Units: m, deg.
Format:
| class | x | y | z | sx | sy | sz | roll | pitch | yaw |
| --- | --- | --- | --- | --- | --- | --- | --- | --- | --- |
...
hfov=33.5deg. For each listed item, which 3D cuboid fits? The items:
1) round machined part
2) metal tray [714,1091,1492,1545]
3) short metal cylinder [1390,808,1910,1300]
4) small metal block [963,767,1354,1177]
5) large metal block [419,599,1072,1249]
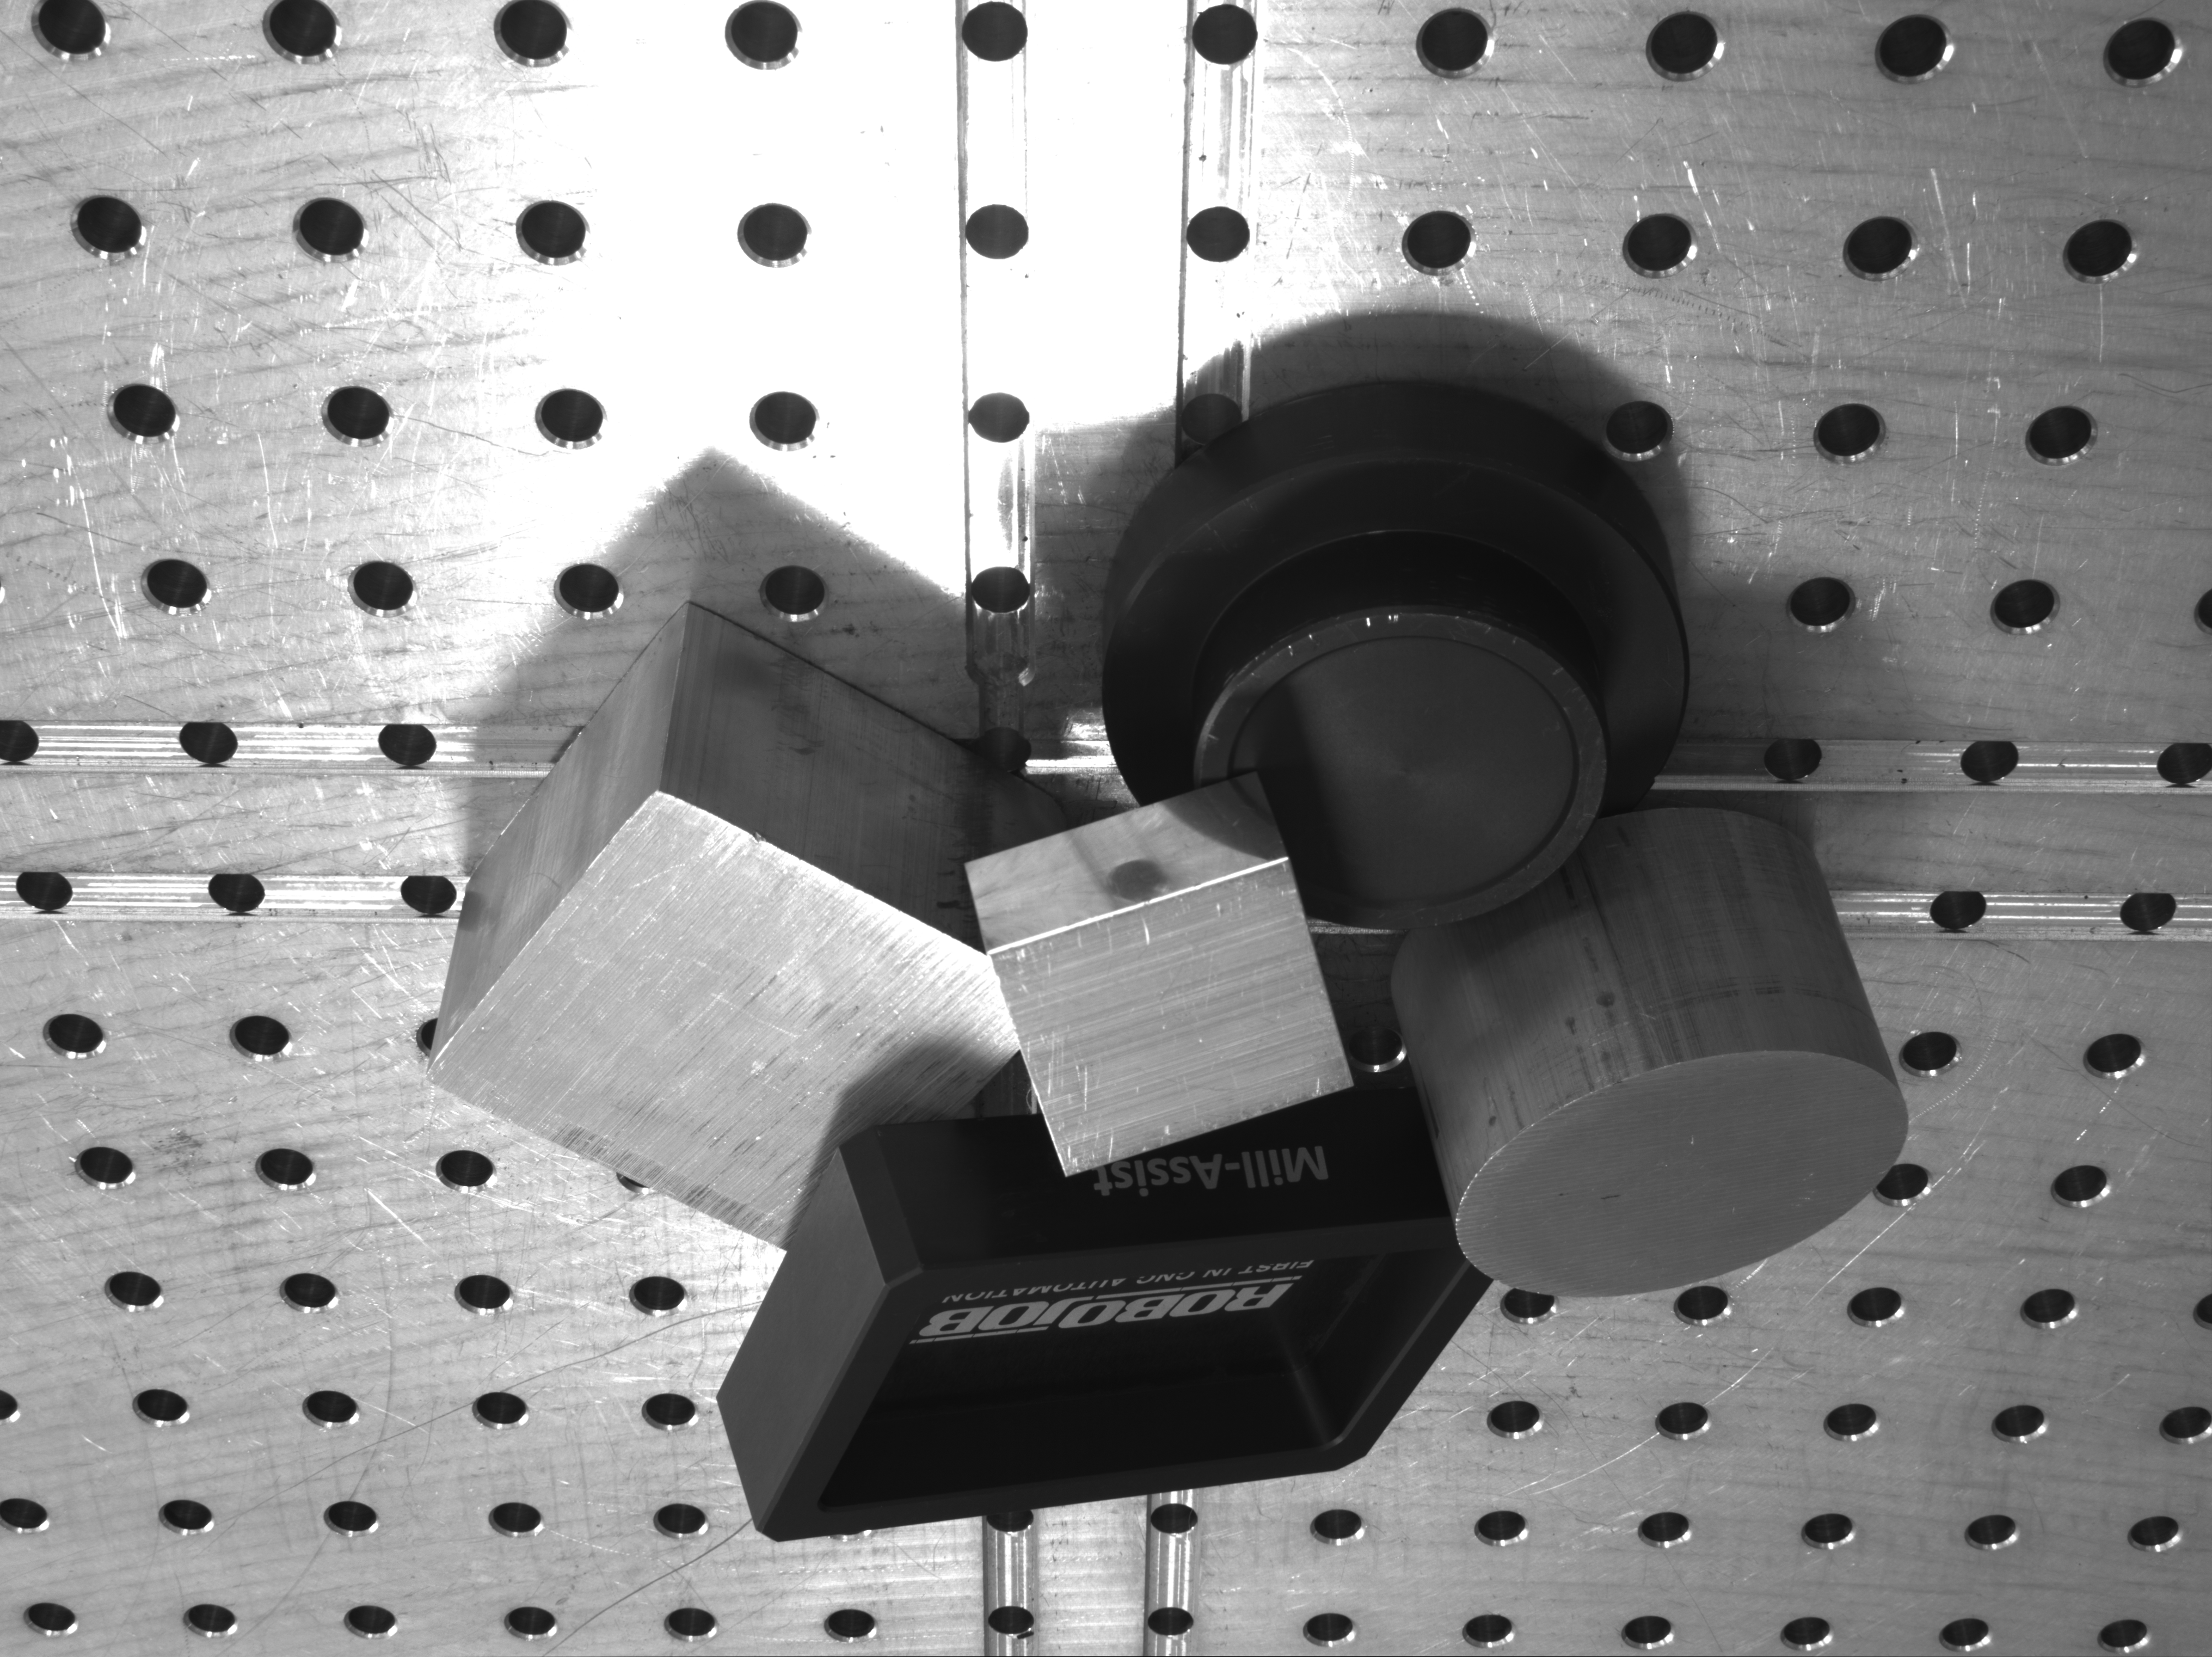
| class | x | y | z | sx | sy | sz | roll | pitch | yaw |
| --- | --- | --- | --- | --- | --- | --- | --- | --- | --- |
| round machined part | 0.049 | -0.022 | 0.613 | 0.098 | 0.042 | 0.098 | 0 | 130 | 0 |
| metal tray | 0.003 | 0.089 | 0.677 | 0.130 | 0.030 | 0.090 | -2 | 141 | -28 |
| short metal cylinder | 0.095 | 0.041 | 0.646 | 0.080 | 0.050 | 0.080 | -9 | 144 | -6 |
| small metal block | 0.009 | 0.024 | 0.602 | 0.050 | 0.025 | 0.050 | -17 | 126 | 0 |
| large metal block | -0.062 | 0.020 | 0.643 | 0.080 | 0.050 | 0.080 | 29 | 124 | -22 |
